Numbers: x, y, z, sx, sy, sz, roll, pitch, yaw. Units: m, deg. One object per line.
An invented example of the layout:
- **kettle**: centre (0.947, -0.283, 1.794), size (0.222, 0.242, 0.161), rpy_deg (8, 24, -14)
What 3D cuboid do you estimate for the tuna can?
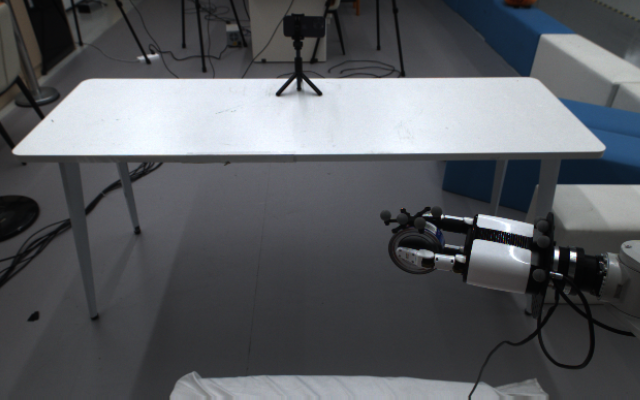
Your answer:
- **tuna can**: centre (0.156, 0.073, 0.769), size (0.085, 0.085, 0.034), rpy_deg (13, 29, 15)
